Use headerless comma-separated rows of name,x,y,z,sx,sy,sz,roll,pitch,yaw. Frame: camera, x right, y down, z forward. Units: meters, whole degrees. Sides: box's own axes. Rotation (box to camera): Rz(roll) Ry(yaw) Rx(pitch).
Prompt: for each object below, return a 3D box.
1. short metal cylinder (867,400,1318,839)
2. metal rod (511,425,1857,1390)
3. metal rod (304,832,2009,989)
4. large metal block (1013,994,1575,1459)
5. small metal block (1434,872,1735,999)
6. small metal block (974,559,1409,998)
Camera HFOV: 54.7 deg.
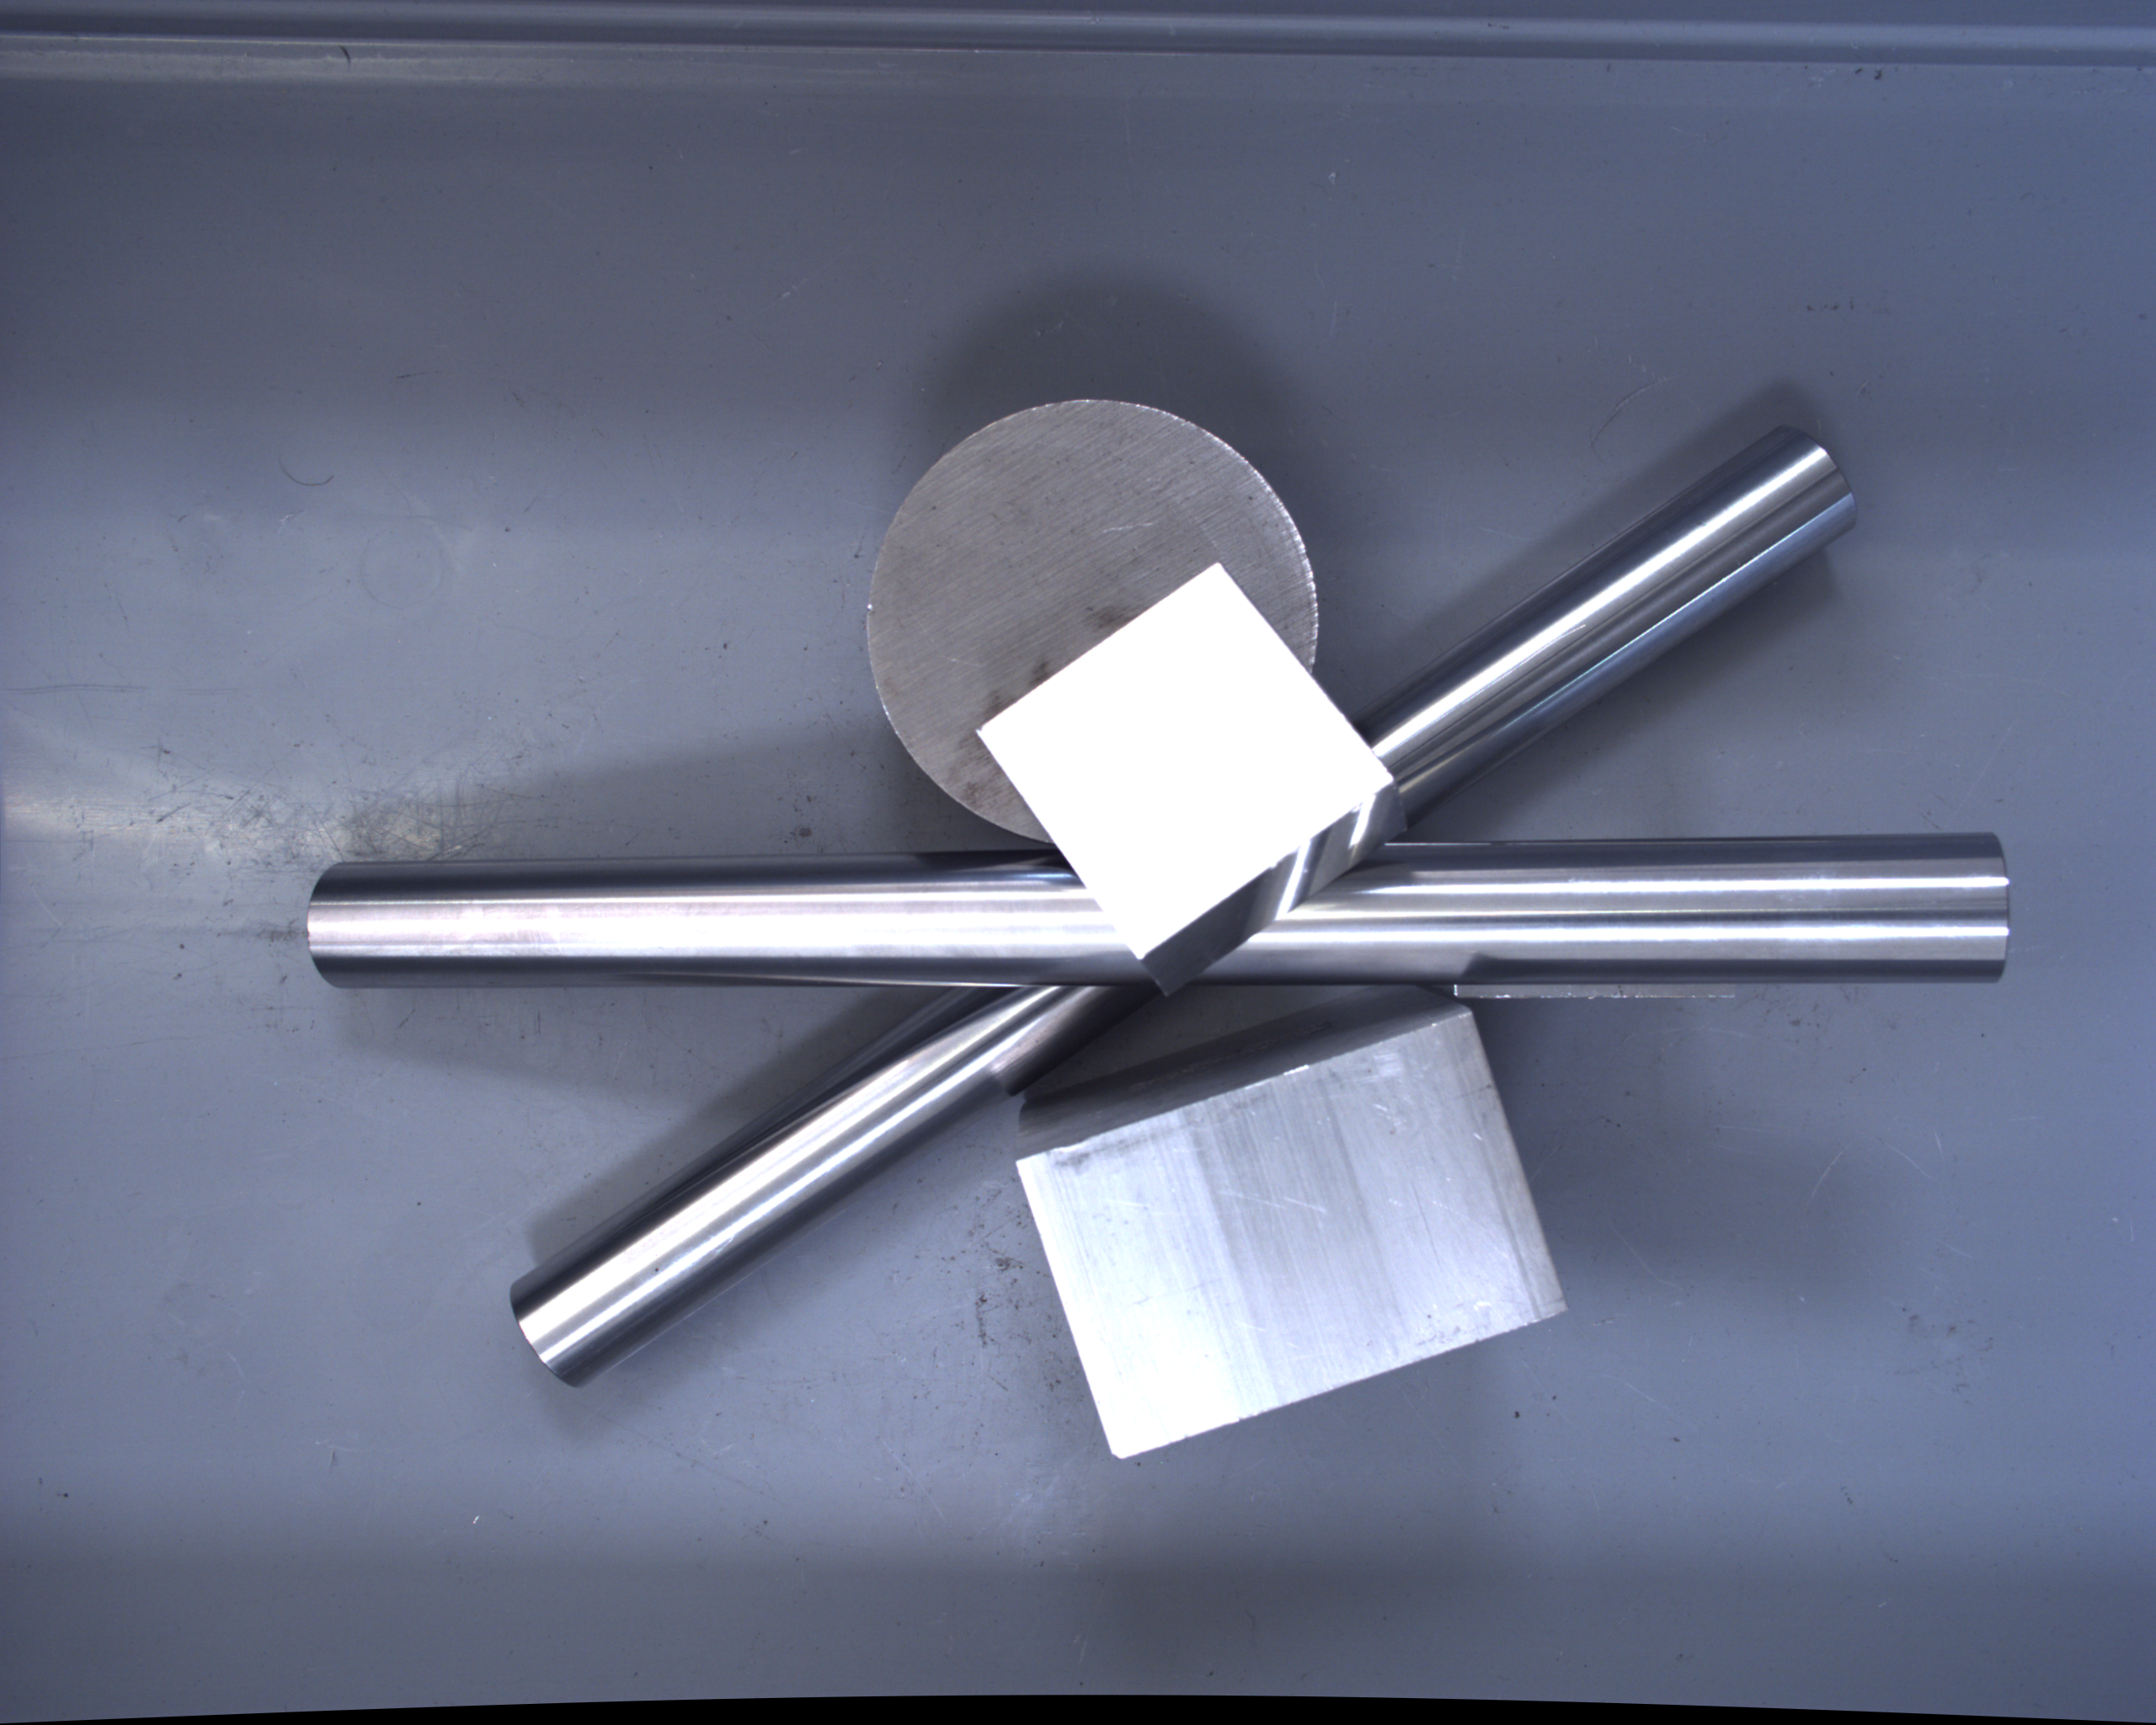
short metal cylinder,0.003,-0.043,0.397,0.081,0.050,0.079,0,89,0
metal rod,0.021,0.009,0.411,0.301,0.025,0.025,-34,90,0
metal rod,0.003,0.010,0.375,0.301,0.025,0.025,-1,90,13
large metal block,0.035,0.061,0.382,0.080,0.080,0.050,-18,90,0
small metal block,0.093,0.012,0.398,0.050,0.050,0.025,0,90,1
small metal block,0.019,-0.014,0.352,0.050,0.025,0.050,-35,68,0
